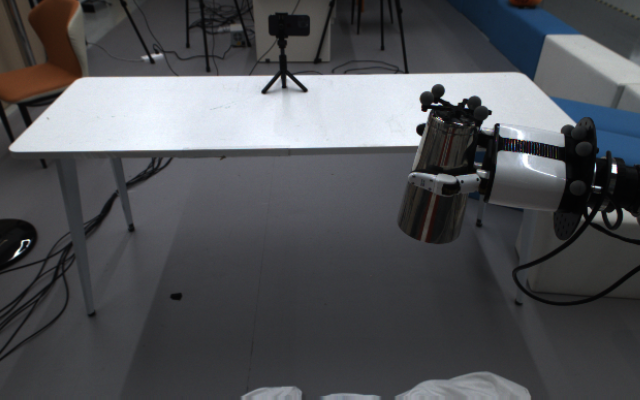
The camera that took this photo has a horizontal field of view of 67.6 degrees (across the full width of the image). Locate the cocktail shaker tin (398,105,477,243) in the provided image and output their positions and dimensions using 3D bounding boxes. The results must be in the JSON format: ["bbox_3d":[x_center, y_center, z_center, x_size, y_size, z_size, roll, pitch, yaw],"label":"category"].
[{"bbox_3d":[0.166,-0.037,0.660,0.093,0.170,0.093,4,32,-2],"label":"cocktail shaker tin"}]
